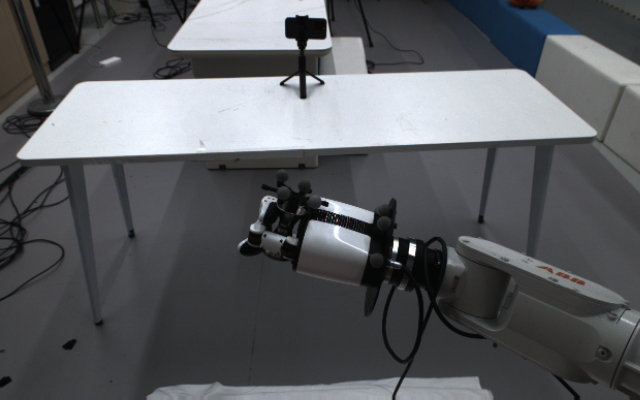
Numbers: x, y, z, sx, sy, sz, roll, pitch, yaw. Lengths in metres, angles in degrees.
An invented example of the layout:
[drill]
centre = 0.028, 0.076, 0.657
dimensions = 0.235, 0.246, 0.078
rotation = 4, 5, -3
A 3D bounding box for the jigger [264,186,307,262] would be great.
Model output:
[jigger]
centre = -0.046, 0.041, 0.636
dimensions = 0.043, 0.071, 0.043
rotation = 18, 17, -6
